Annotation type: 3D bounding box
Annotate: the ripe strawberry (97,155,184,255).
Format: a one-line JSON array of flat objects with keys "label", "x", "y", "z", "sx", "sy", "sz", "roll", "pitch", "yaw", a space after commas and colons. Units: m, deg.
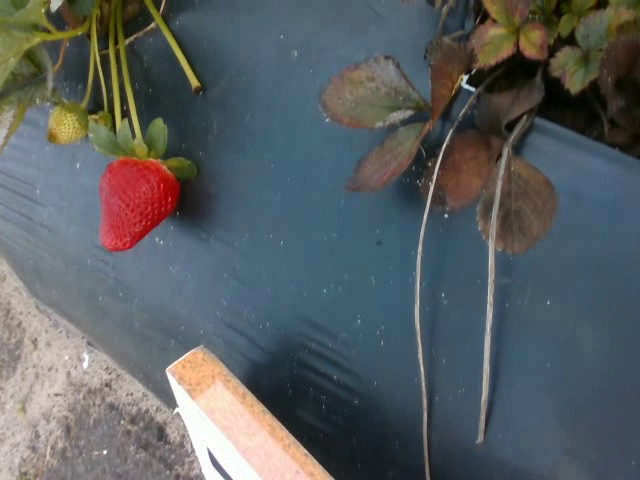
[{"label": "ripe strawberry", "x": -0.093, "y": -0.016, "z": 0.298, "sx": 0.042, "sy": 0.055, "sz": 0.045, "roll": 33, "pitch": -21, "yaw": -14}]
